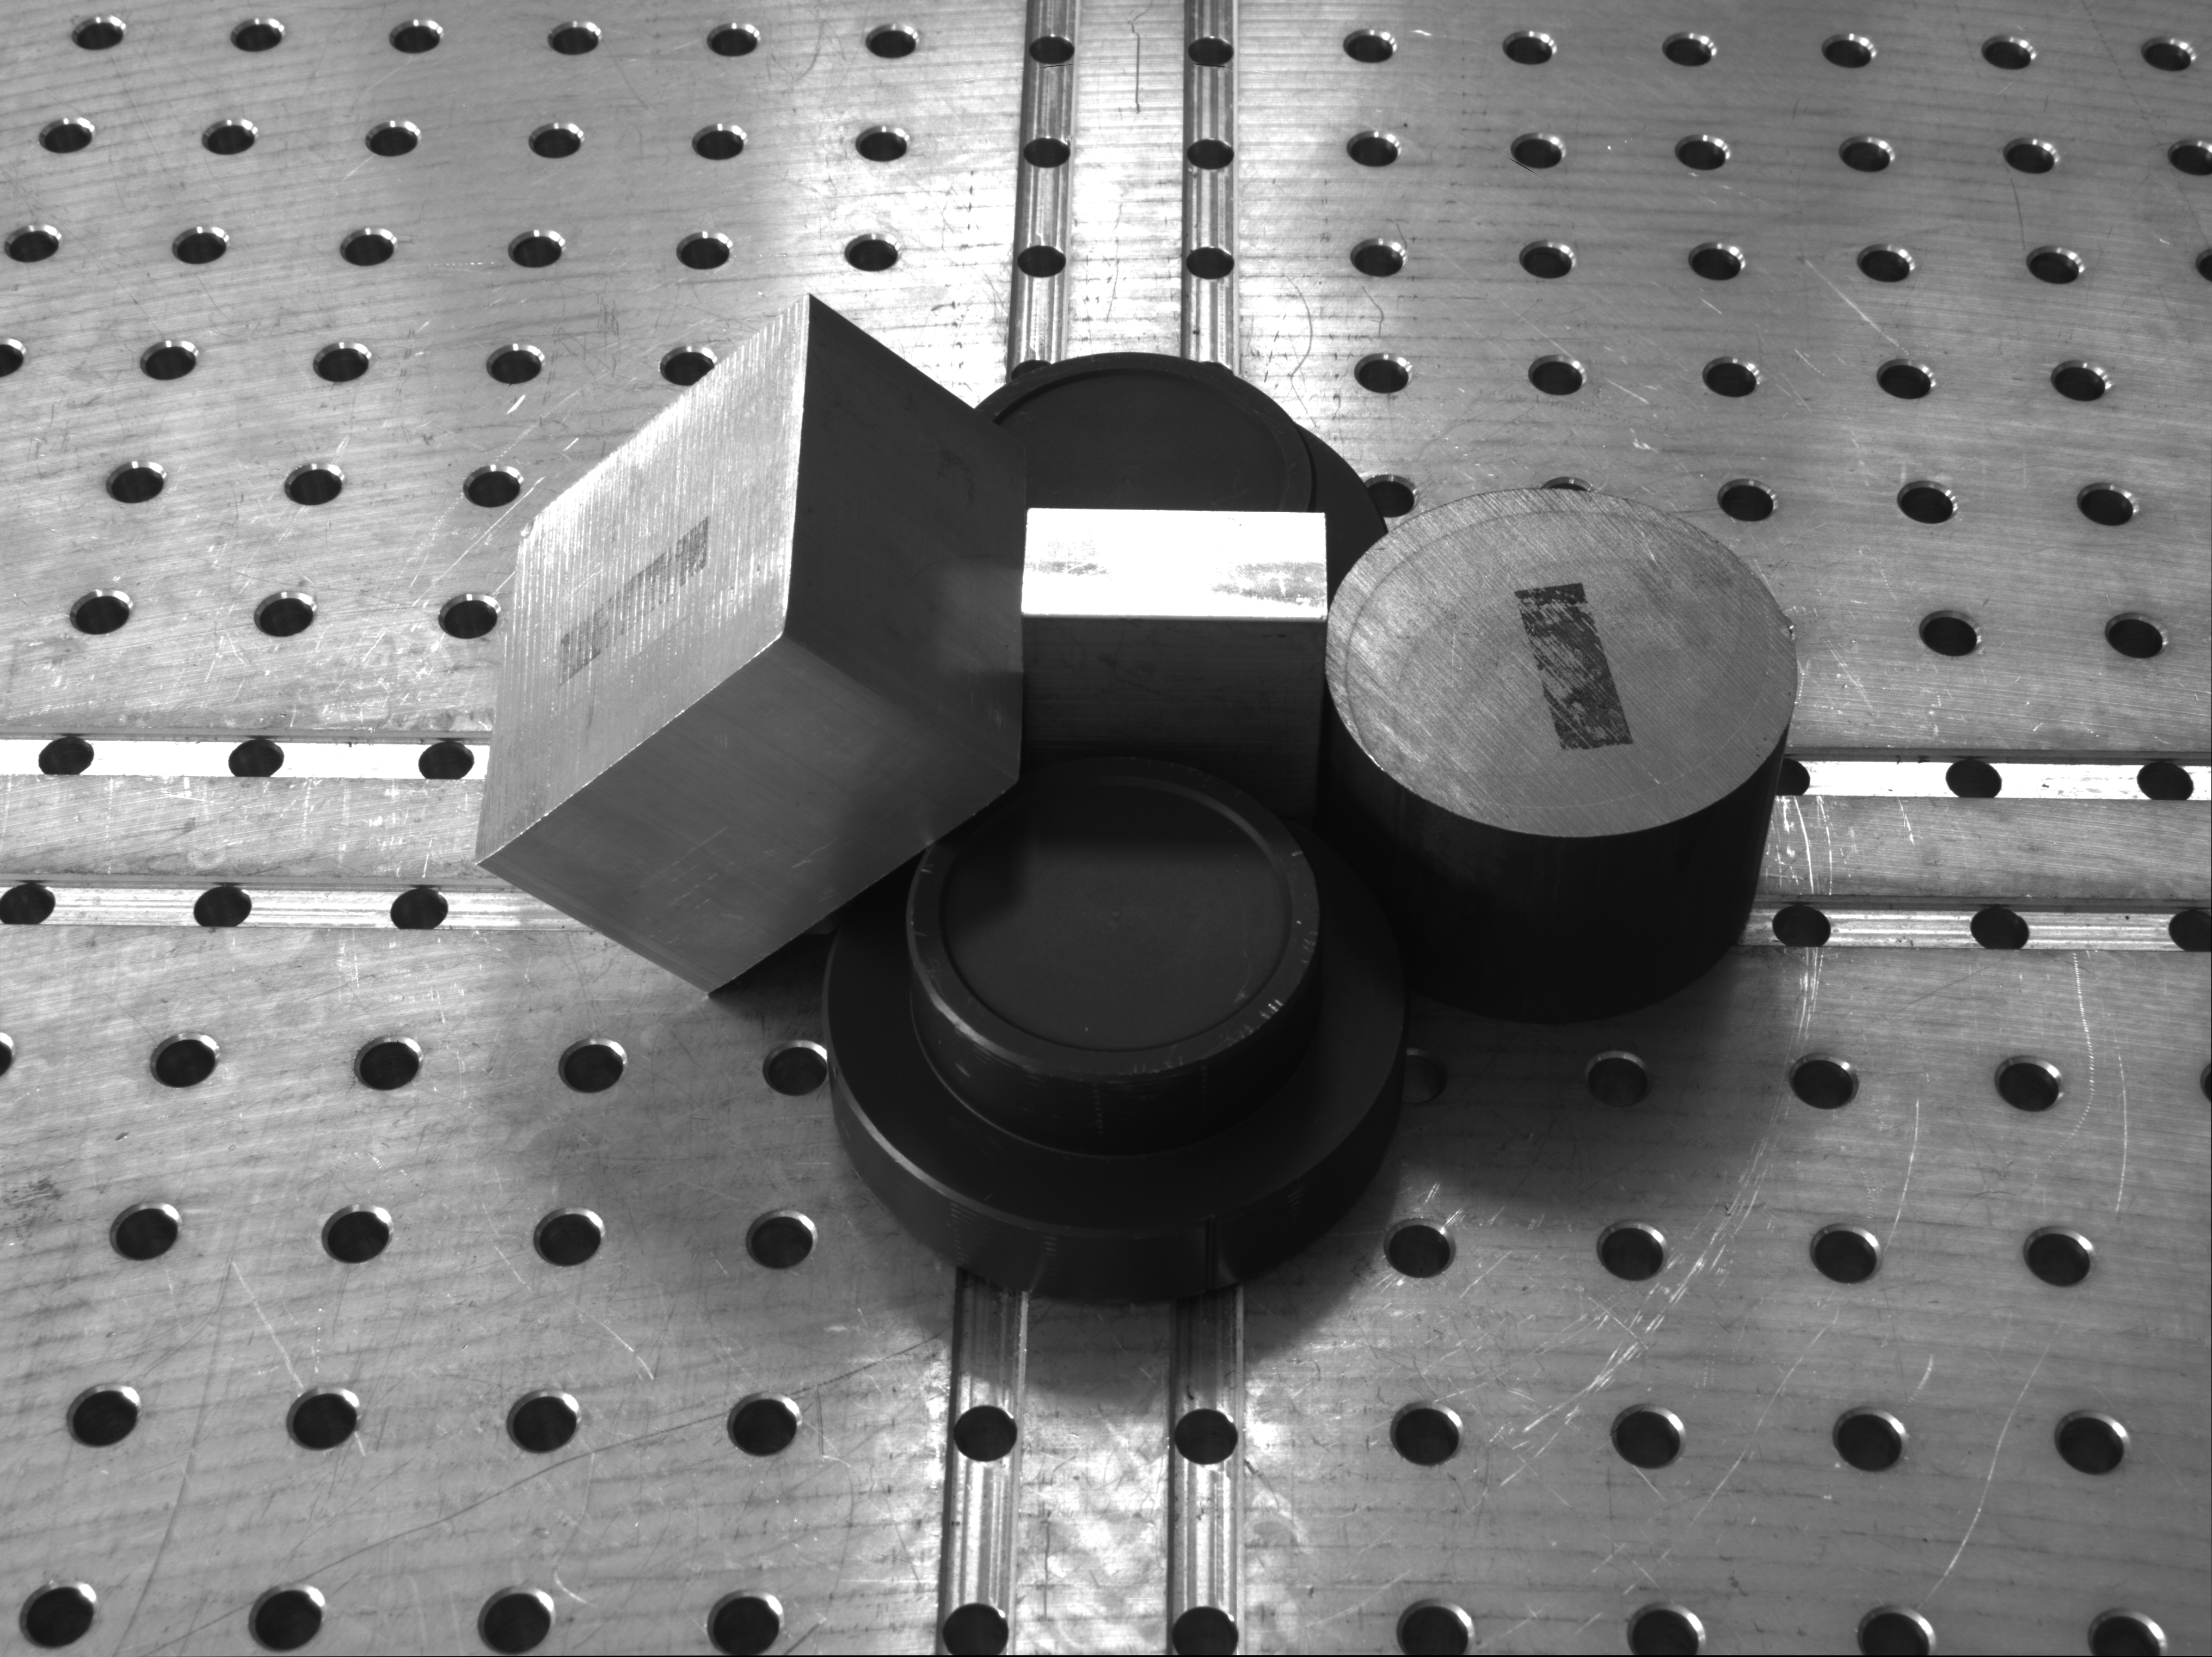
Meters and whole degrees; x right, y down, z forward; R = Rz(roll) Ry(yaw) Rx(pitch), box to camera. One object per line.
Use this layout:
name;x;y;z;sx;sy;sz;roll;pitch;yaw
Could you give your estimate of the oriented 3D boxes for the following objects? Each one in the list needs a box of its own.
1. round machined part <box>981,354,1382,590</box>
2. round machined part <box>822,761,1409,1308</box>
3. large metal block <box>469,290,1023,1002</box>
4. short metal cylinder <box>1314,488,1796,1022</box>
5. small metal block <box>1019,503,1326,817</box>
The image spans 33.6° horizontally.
round machined part;0.004;-0.049;0.676;0.098;0.042;0.098;0;50;0
round machined part;0.002;0.027;0.611;0.098;0.042;0.098;0;50;0
large metal block;-0.060;-0.030;0.627;0.050;0.080;0.080;32;40;-32
short metal cylinder;0.077;-0.013;0.639;0.080;0.050;0.080;0;50;0
small metal block;0.011;-0.028;0.623;0.050;0.050;0.025;1;50;1
